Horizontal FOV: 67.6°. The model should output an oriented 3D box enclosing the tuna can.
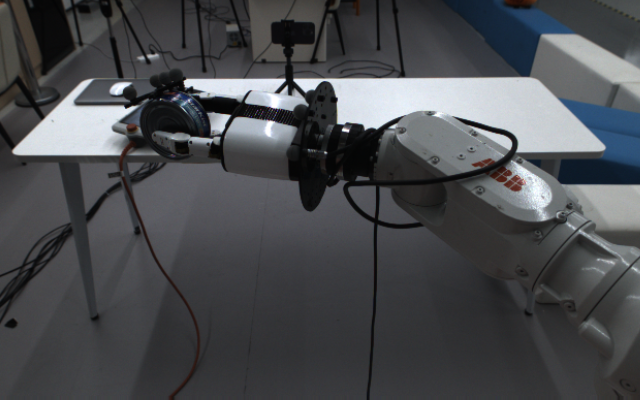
[{"bbox_3d":[-0.188,-0.096,0.628,0.085,0.085,0.034,11,34,13],"label":"tuna can"}]
